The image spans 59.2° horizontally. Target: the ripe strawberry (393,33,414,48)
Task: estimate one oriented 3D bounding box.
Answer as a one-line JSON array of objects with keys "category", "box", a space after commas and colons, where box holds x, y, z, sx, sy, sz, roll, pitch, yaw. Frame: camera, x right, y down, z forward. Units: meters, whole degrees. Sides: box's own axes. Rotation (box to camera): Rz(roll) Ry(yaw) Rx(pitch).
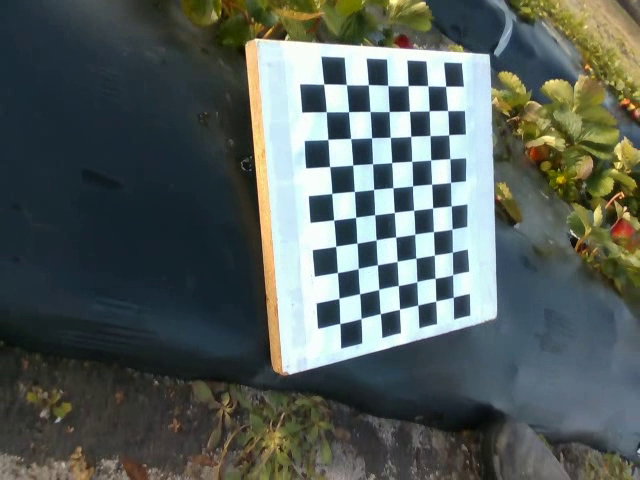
[{"category": "ripe strawberry", "box": [0.151, -0.328, 0.963, 0.064, 0.049, 0.050, 39, -15, -25]}]
